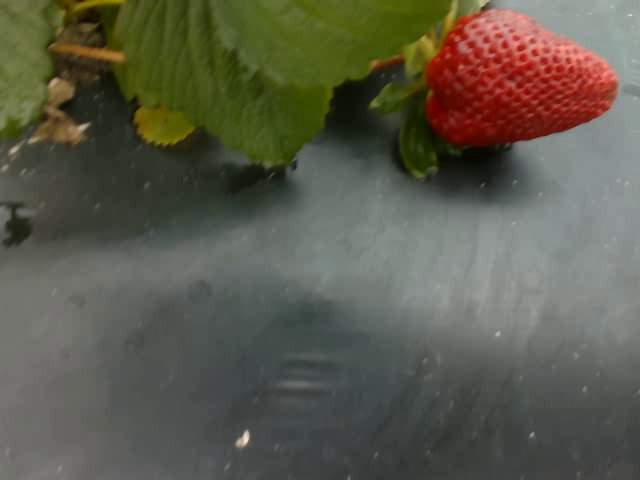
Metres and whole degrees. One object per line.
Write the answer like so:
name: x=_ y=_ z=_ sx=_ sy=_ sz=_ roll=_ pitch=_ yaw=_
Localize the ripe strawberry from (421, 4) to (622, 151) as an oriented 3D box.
ripe strawberry: x=0.061 y=-0.048 z=0.167 sx=0.064 sy=0.046 sz=0.048 roll=20 pitch=26 yaw=26
